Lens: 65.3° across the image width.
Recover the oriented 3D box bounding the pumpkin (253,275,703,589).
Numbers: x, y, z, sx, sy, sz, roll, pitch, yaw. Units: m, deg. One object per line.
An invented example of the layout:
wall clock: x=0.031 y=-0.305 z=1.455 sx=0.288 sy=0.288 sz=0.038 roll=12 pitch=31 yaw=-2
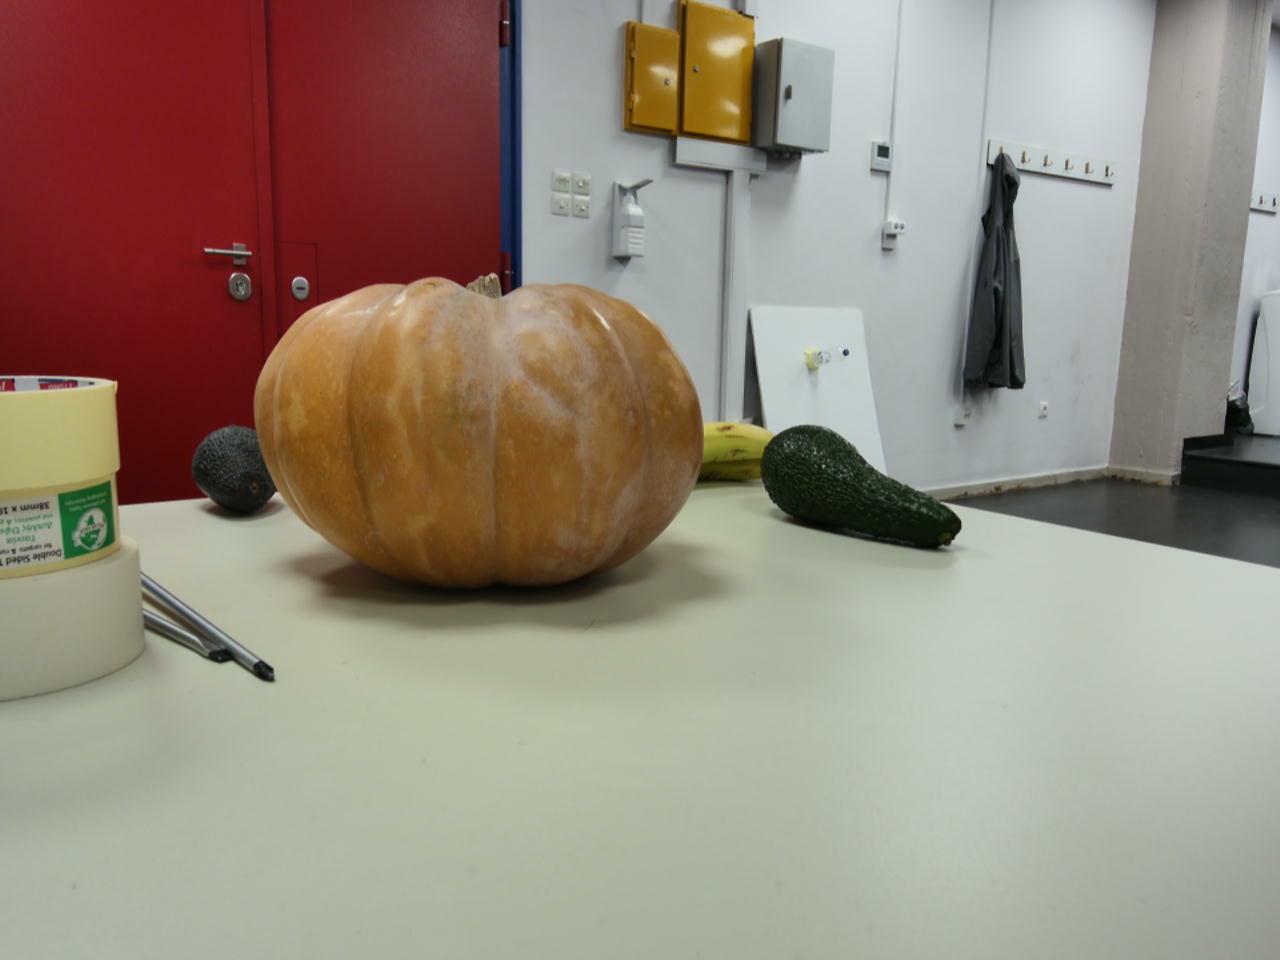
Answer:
pumpkin: x=-0.094 y=-0.032 z=0.608 sx=0.277 sy=0.181 sz=0.277 roll=0 pitch=8 yaw=0
